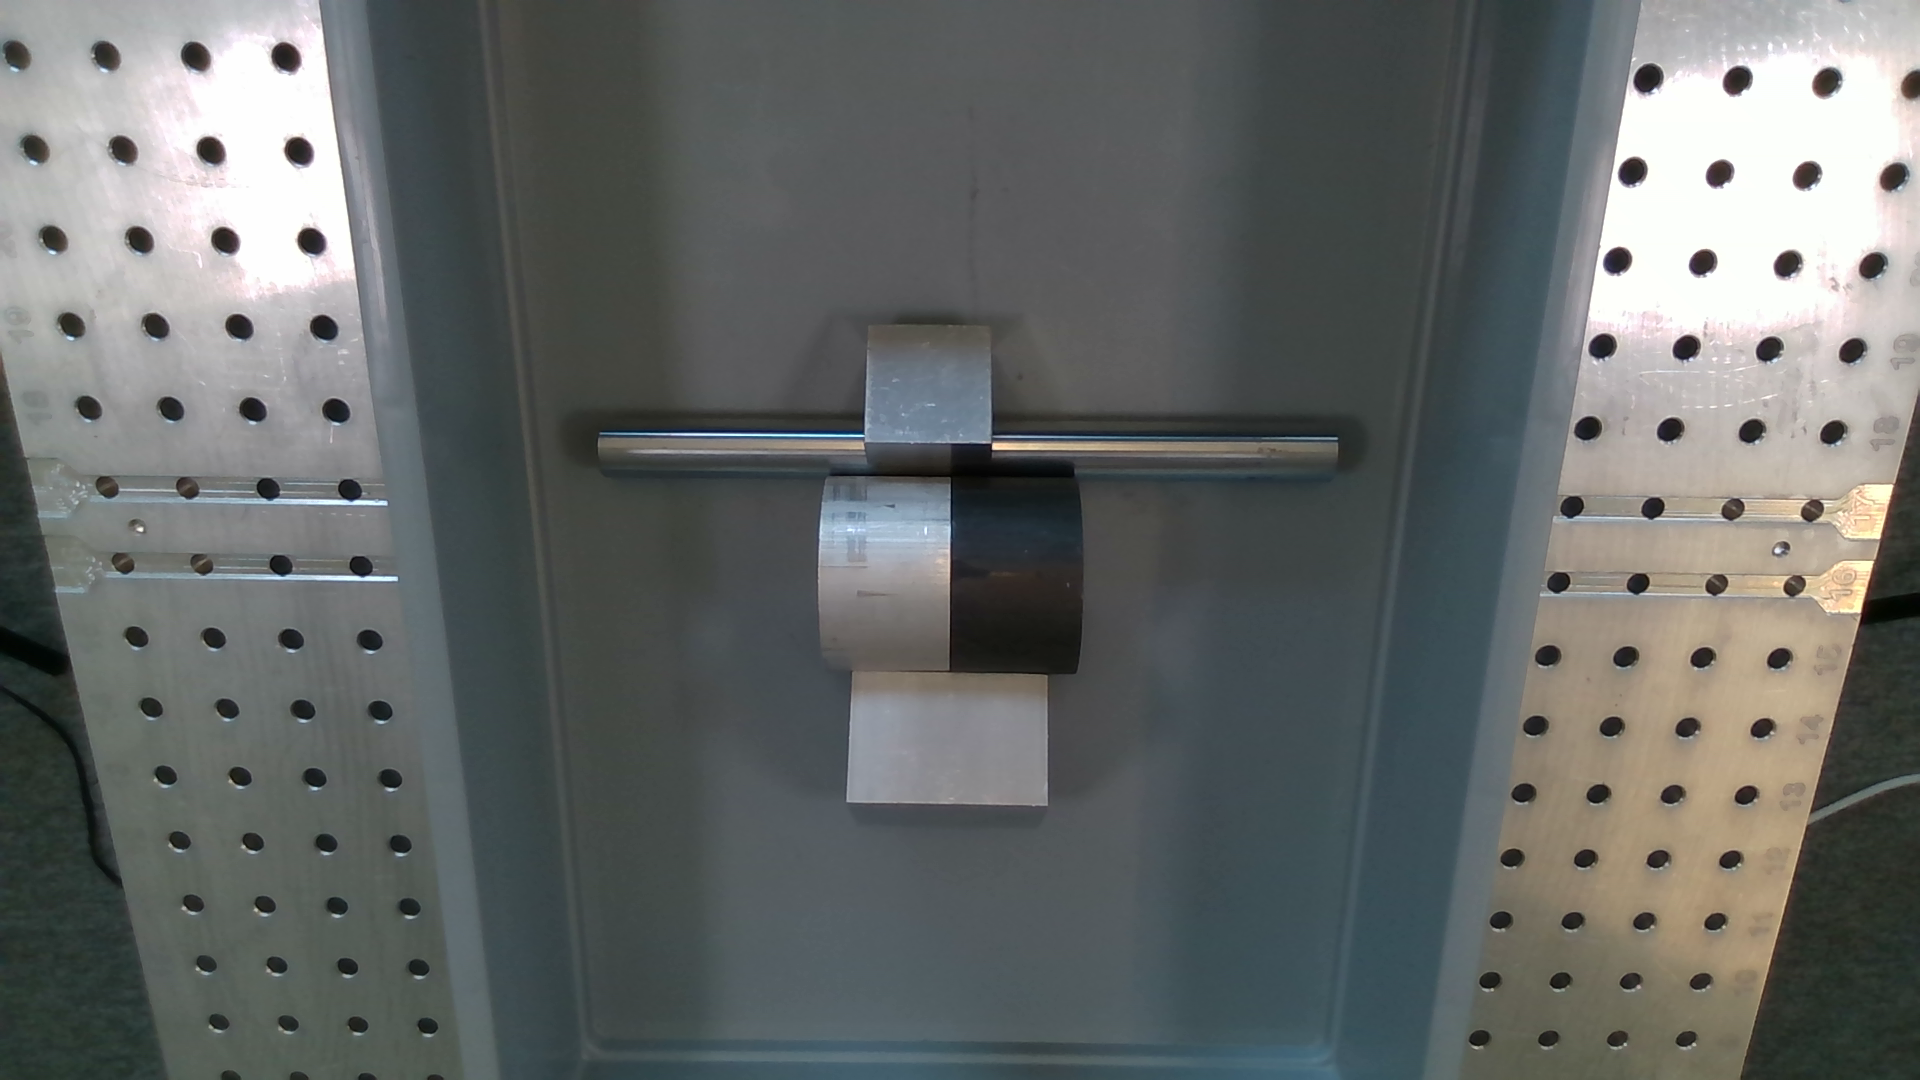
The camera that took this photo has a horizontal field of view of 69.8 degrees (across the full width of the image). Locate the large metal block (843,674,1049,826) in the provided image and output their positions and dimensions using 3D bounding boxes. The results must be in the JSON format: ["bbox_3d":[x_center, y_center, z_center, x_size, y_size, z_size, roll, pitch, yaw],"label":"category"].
[{"bbox_3d":[-0.005,0.090,0.580,0.080,0.080,0.050,1,72,0],"label":"large metal block"}]

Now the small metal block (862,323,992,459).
[{"bbox_3d":[-0.013,-0.058,0.550,0.050,0.025,0.050,0,76,-1],"label":"small metal block"}]

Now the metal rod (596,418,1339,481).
[{"bbox_3d":[0.003,-0.038,0.569,0.300,0.025,0.025,0,110,0],"label":"metal rod"}]

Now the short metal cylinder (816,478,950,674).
[{"bbox_3d":[-0.029,0.014,0.559,0.050,0.080,0.080,0,110,0],"label":"short metal cylinder"}]

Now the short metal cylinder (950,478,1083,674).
[{"bbox_3d":[0.021,0.014,0.559,0.050,0.080,0.080,0,110,0],"label":"short metal cylinder"}]
